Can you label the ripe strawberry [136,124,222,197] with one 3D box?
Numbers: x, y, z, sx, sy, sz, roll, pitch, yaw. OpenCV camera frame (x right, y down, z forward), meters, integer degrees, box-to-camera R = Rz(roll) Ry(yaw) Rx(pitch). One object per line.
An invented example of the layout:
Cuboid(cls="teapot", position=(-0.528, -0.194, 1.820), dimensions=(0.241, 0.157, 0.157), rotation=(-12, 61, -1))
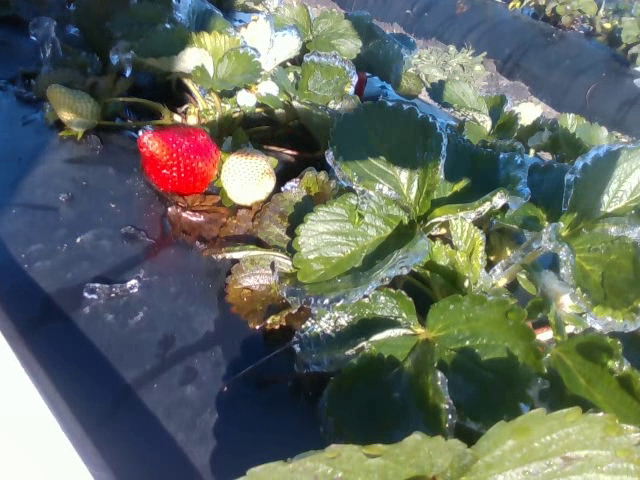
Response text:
Cuboid(cls="ripe strawberry", position=(-0.069, -0.040, 0.291), dimensions=(0.040, 0.042, 0.053), rotation=(4, -7, 15))
